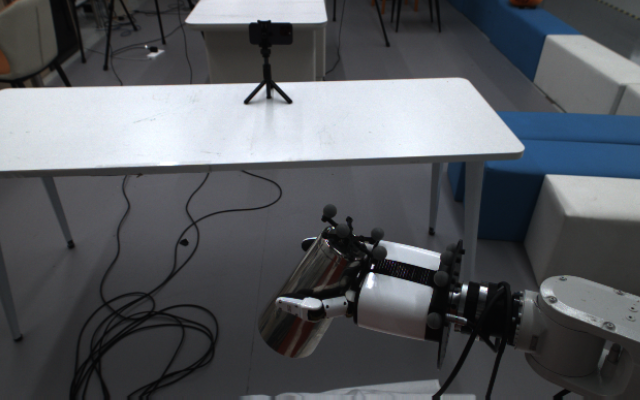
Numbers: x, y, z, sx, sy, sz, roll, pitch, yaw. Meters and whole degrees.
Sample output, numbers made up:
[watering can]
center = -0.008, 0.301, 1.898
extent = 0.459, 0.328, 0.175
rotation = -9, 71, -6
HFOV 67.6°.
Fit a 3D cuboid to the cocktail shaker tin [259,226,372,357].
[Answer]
[cocktail shaker tin]
center = -0.006, 0.113, 0.641
extent = 0.093, 0.170, 0.093
rotation = 25, 29, -15
